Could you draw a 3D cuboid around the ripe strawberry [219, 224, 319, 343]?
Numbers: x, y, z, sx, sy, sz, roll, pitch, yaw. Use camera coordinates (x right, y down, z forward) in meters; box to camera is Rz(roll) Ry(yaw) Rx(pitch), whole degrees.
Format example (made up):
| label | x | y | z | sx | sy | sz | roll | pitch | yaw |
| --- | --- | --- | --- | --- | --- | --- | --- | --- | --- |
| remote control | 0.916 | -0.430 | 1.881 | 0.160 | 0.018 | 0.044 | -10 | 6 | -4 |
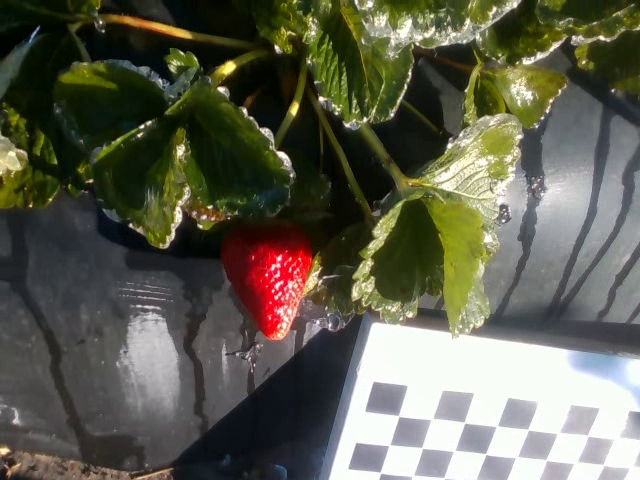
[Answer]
| label | x | y | z | sx | sy | sz | roll | pitch | yaw |
| --- | --- | --- | --- | --- | --- | --- | --- | --- | --- |
| ripe strawberry | -0.022 | 0.019 | 0.254 | 0.041 | 0.053 | 0.047 | 3 | -15 | -10 |
